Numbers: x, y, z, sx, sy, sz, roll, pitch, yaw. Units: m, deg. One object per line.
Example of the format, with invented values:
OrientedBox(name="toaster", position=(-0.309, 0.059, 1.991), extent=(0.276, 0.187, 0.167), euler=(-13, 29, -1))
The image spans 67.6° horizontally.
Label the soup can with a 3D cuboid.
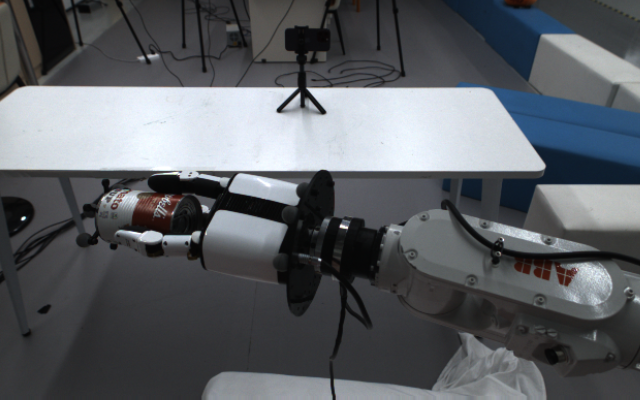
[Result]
OrientedBox(name="soup can", position=(-0.197, 0.025, 0.568), extent=(0.101, 0.067, 0.067), euler=(5, 34, 14))
